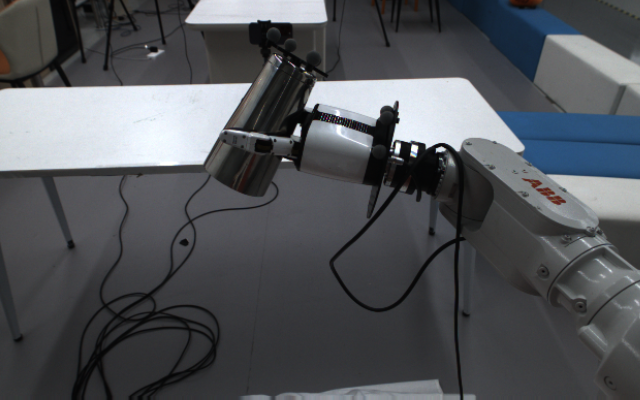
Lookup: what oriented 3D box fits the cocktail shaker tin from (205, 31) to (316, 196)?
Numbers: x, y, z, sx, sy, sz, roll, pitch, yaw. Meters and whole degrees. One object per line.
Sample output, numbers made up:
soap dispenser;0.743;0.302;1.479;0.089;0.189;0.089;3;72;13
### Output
cocktail shaker tin;-0.073;-0.103;0.632;0.093;0.170;0.093;28;13;-7
